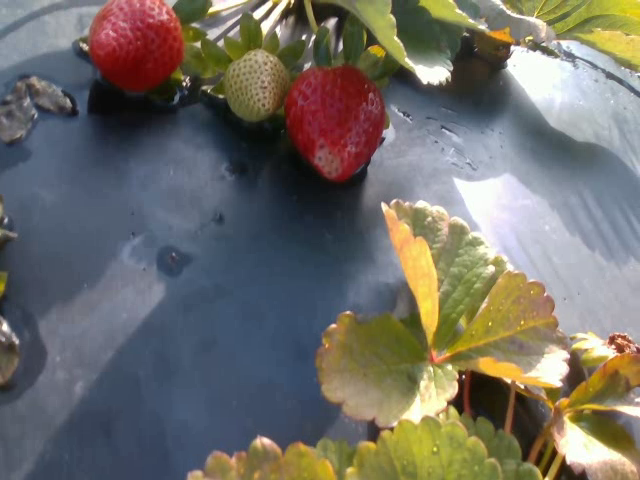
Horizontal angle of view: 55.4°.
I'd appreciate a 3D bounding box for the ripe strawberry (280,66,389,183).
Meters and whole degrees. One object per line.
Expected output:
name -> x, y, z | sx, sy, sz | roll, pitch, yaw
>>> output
ripe strawberry -> 0.006, -0.048, 0.258 | 0.048, 0.065, 0.050 | -12, -34, 26
